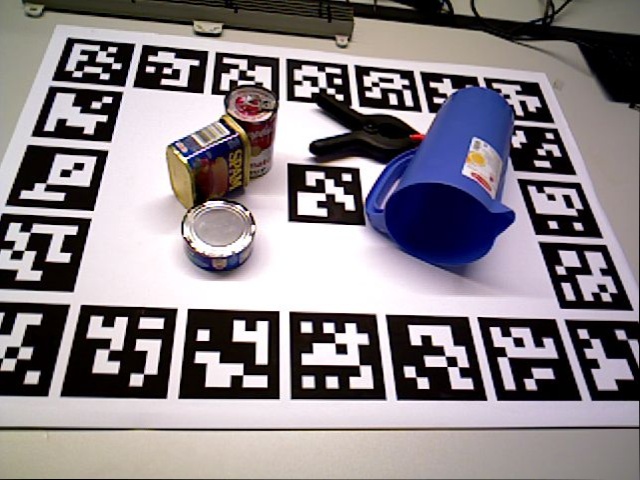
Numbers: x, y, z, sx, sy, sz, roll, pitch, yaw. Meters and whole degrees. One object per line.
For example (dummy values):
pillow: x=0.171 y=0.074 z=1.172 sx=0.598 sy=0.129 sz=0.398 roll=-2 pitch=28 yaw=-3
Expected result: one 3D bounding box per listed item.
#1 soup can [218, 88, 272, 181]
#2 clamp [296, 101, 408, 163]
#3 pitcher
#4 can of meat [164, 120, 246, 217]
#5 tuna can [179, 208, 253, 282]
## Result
soup can: x=-0.098 y=-0.133 z=0.704 sx=0.067 sy=0.104 sz=0.067 roll=3 pitch=57 yaw=-5
clamp: x=0.047 y=-0.149 z=0.790 sx=0.164 sy=0.037 sz=0.120 roll=6 pitch=51 yaw=-10
pitcher: x=0.172 y=-0.088 z=0.694 sx=0.190 sy=0.135 sz=0.237 roll=6 pitch=44 yaw=22
can of meat: x=-0.140 y=-0.082 z=0.656 sx=0.082 sy=0.104 sz=0.057 roll=-31 pitch=67 yaw=-23
tuna can: x=-0.123 y=0.006 z=0.645 sx=0.085 sy=0.034 sz=0.084 roll=4 pitch=57 yaw=-7
